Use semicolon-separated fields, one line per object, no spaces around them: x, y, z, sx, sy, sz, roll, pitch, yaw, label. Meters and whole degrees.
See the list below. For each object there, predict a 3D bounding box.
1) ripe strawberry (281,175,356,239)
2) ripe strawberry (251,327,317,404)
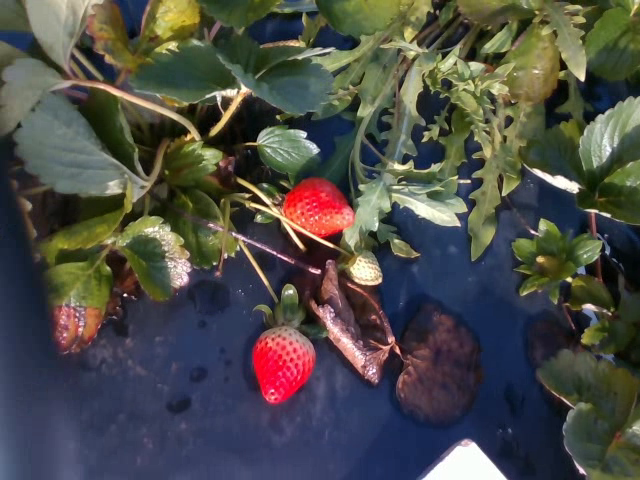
0.002;-0.020;0.356;0.049;0.040;0.032;11;-34;49;ripe strawberry
-0.020;0.061;0.321;0.035;0.043;0.029;13;-28;1;ripe strawberry
